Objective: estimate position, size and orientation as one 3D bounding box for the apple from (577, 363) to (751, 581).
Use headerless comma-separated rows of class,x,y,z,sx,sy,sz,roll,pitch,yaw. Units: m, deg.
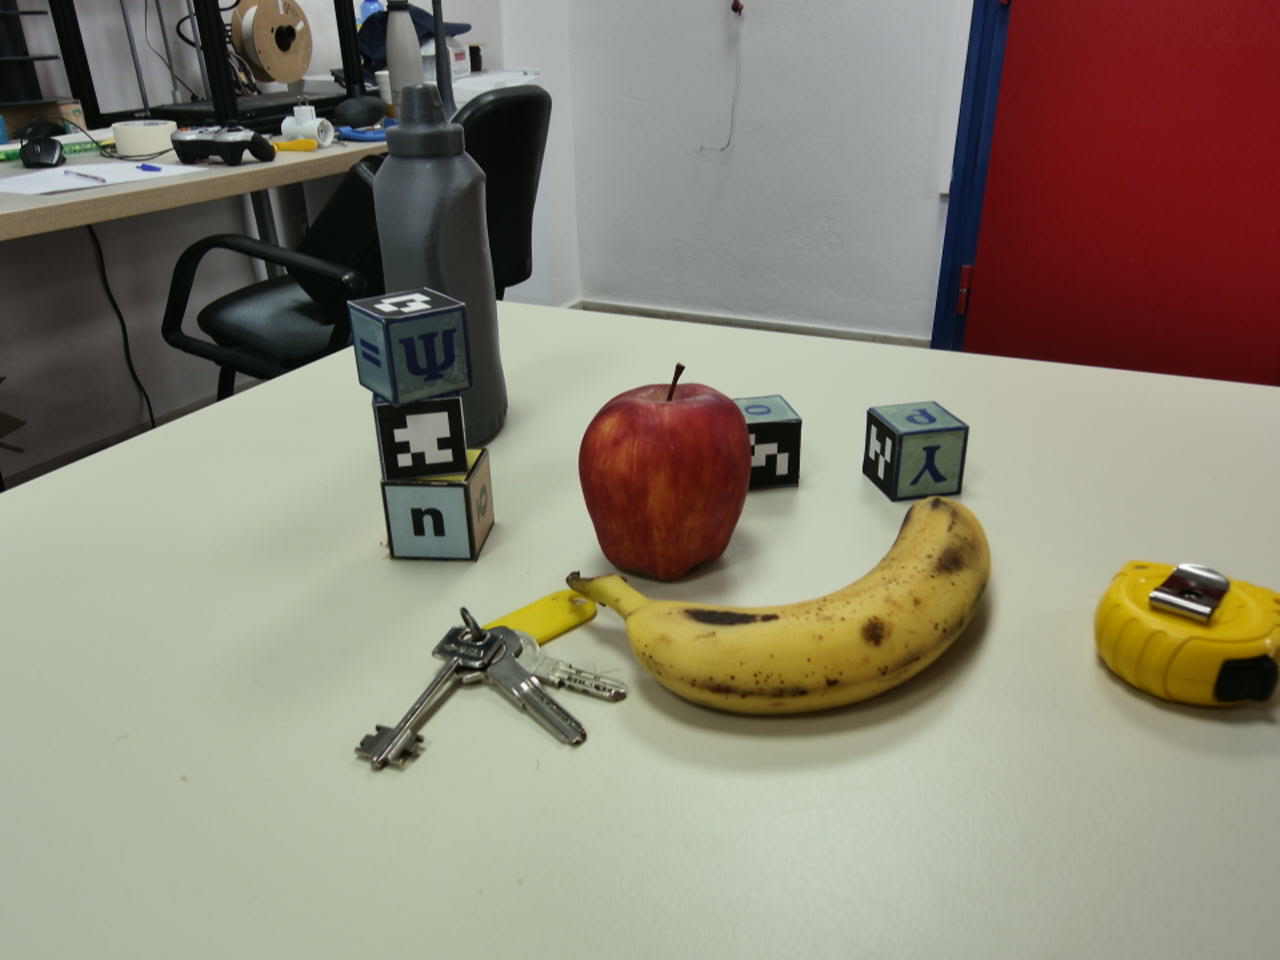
apple,0.011,-0.008,0.439,0.083,0.090,0.083,-1,24,0
